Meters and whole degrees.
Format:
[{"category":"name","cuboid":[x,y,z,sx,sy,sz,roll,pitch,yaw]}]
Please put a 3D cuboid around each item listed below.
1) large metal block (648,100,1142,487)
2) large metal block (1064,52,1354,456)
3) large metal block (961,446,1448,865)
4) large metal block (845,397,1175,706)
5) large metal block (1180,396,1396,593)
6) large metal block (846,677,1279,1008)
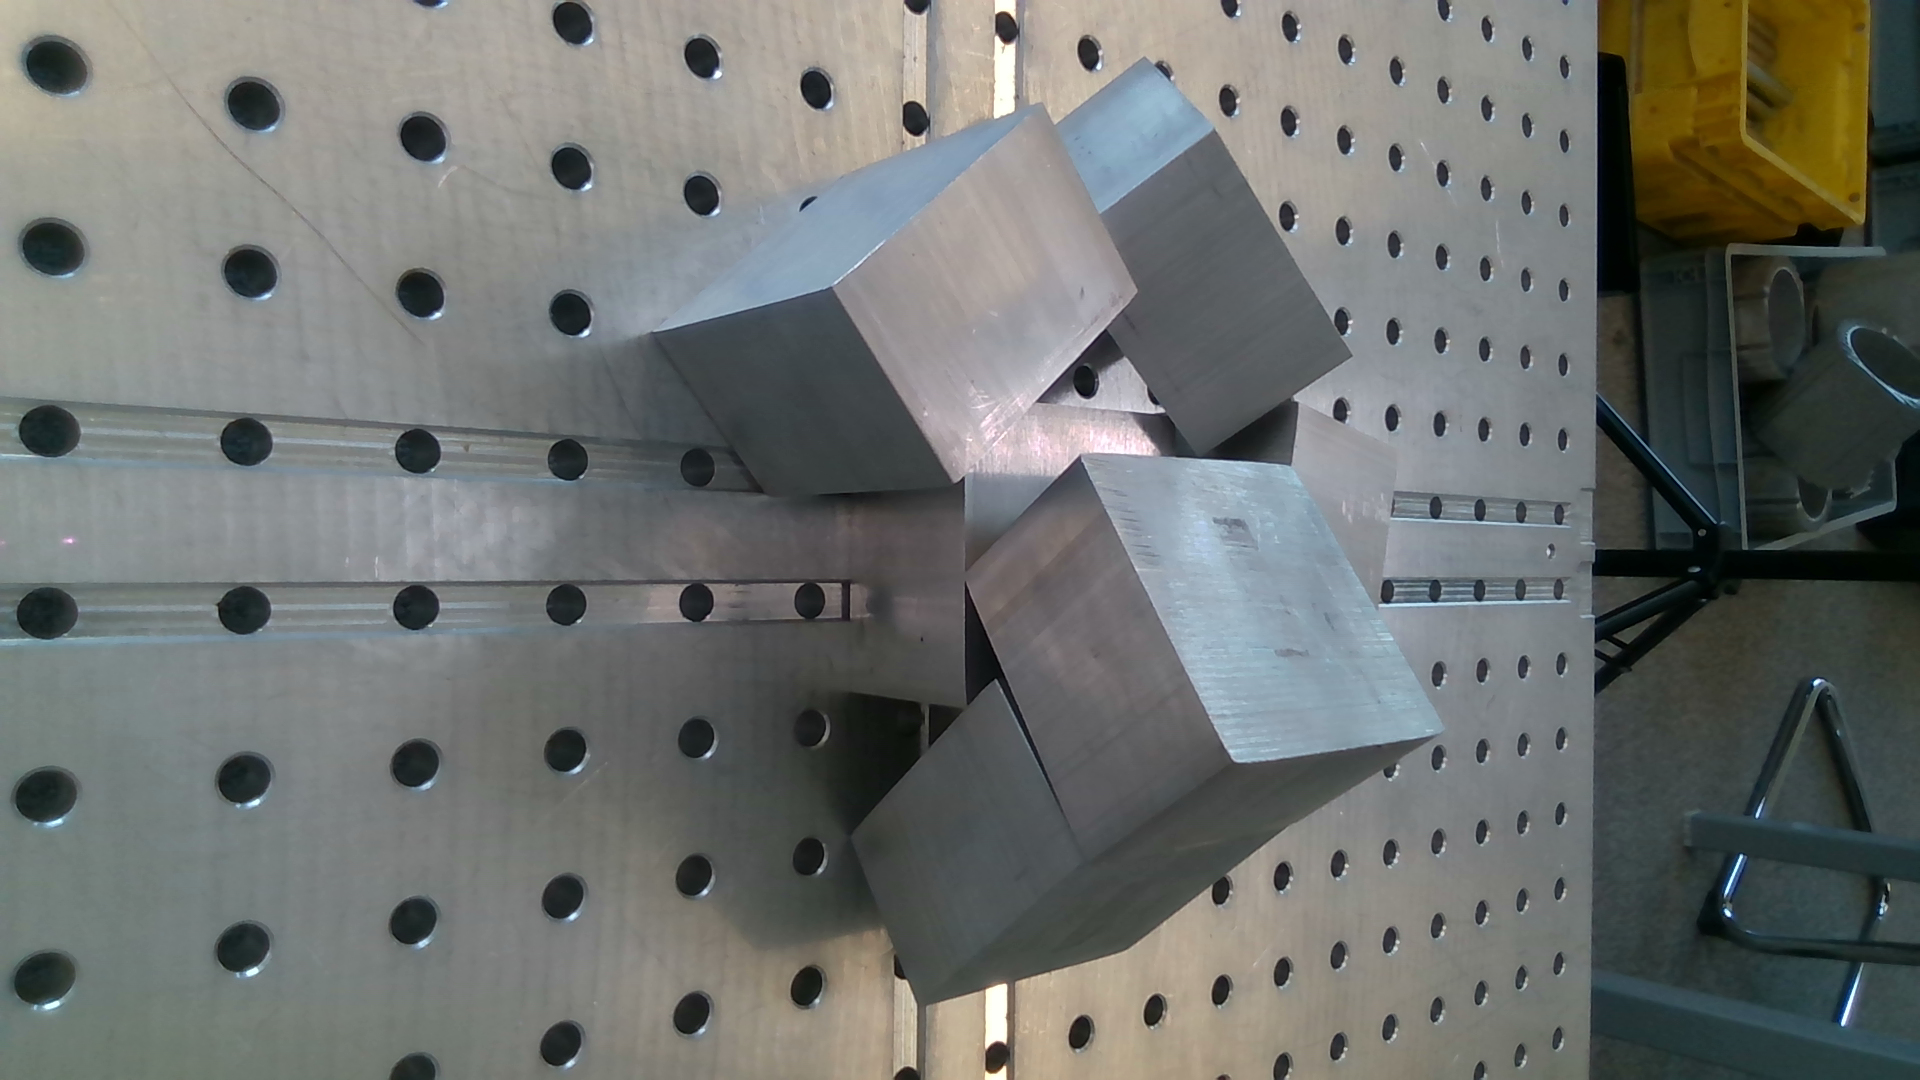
[{"category":"large metal block","cuboid":[-0.016,-0.058,0.342,0.080,0.080,0.050,-47,119,-29]},{"category":"large metal block","cuboid":[0.061,-0.084,0.401,0.050,0.080,0.080,-34,120,13]},{"category":"large metal block","cuboid":[0.059,0.026,0.337,0.080,0.050,0.080,1,55,-41]},{"category":"large metal block","cuboid":[0.015,0.002,0.390,0.080,0.050,0.080,1,89,-40]},{"category":"large metal block","cuboid":[0.081,0.004,0.427,0.050,0.080,0.080,17,79,-39]},{"category":"large metal block","cuboid":[0.029,0.078,0.372,0.080,0.080,0.050,0,52,-41]}]
